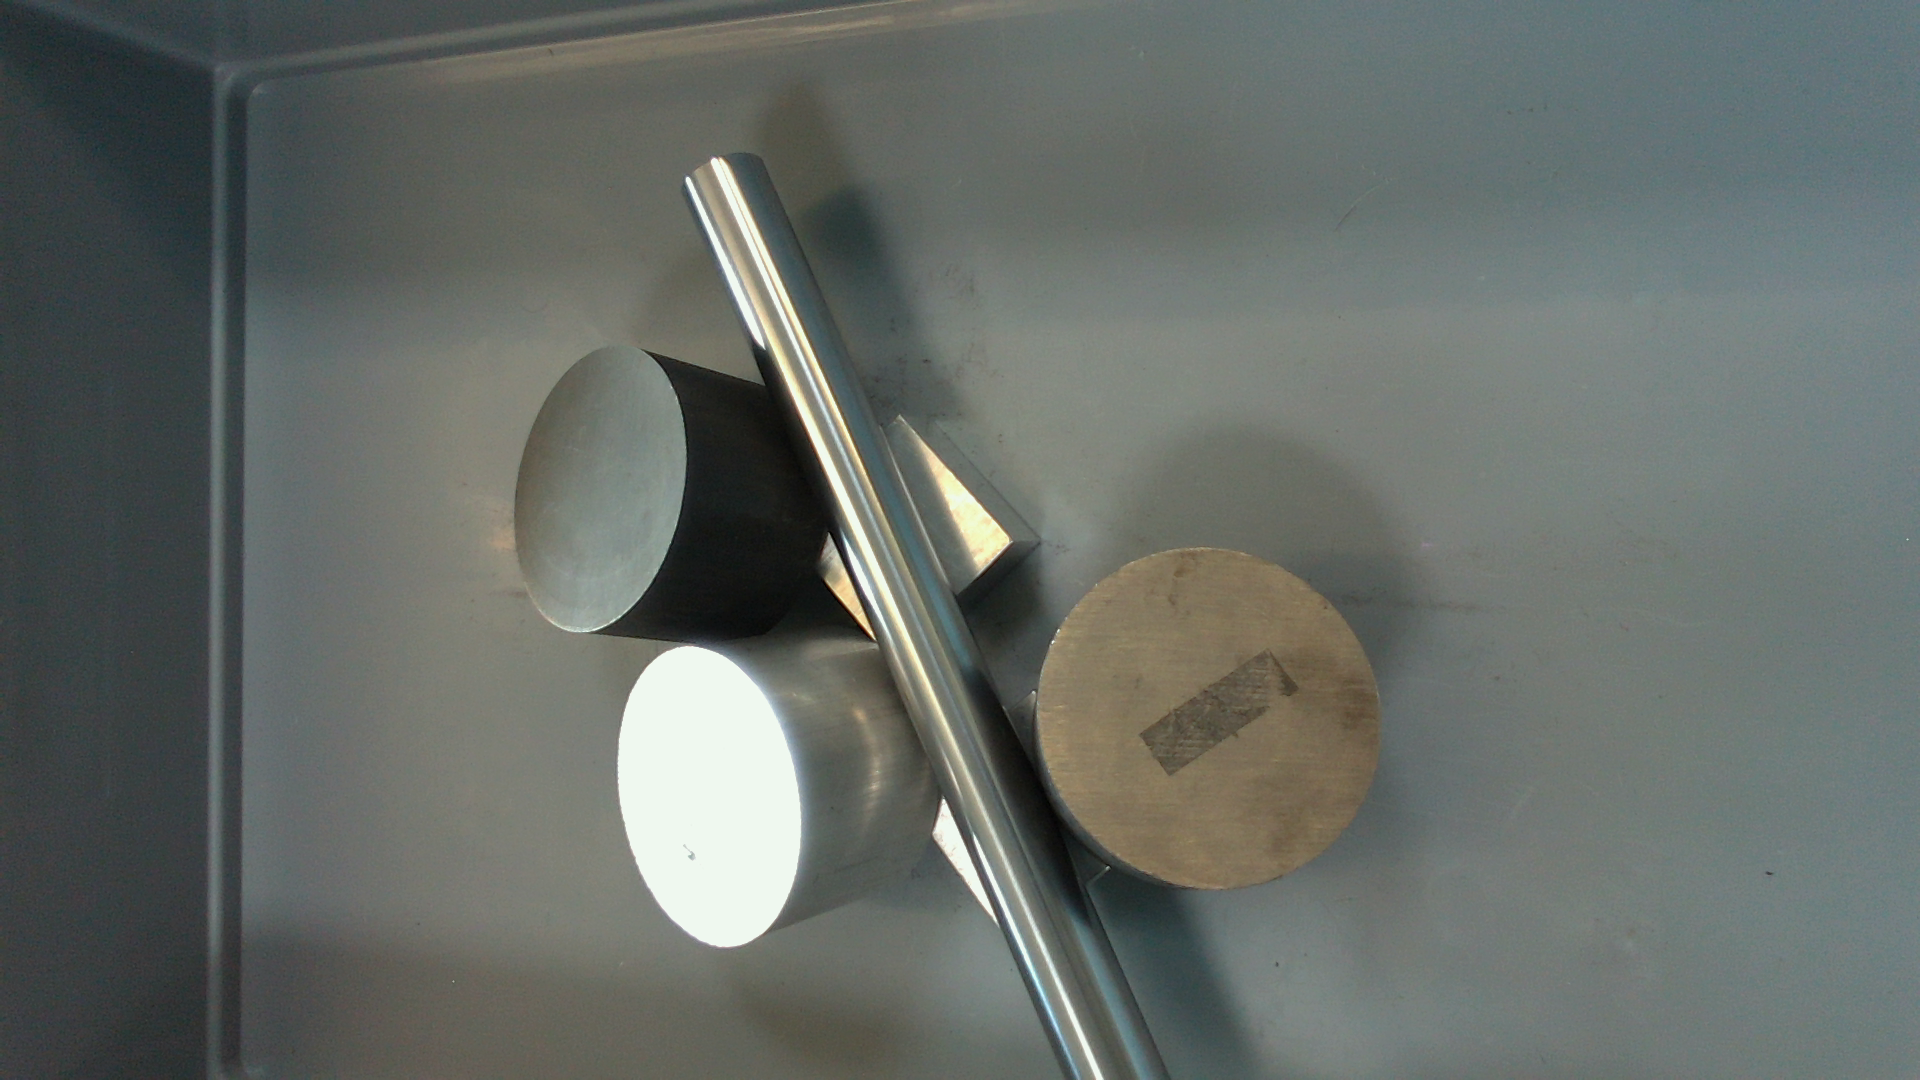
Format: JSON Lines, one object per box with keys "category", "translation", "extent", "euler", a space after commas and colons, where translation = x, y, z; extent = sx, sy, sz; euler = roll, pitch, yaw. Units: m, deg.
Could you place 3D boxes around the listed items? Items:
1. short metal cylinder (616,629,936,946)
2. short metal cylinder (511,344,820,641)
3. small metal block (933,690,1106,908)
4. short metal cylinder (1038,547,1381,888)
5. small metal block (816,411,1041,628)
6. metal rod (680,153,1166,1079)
{"category": "short metal cylinder", "translation": [-0.052, 0.067, 0.386], "extent": [0.080, 0.050, 0.080], "euler": [5, 97, 42]}
{"category": "short metal cylinder", "translation": [-0.085, -0.011, 0.397], "extent": [0.080, 0.050, 0.080], "euler": [-9, 76, 40]}
{"category": "small metal block", "translation": [0.021, 0.076, 0.387], "extent": [0.050, 0.025, 0.050], "euler": [-42, 77, 15]}
{"category": "short metal cylinder", "translation": [0.059, 0.047, 0.346], "extent": [0.080, 0.050, 0.080], "euler": [0, 75, 1]}
{"category": "small metal block", "translation": [-0.014, -0.001, 0.400], "extent": [0.050, 0.025, 0.050], "euler": [-45, 76, 14]}
{"category": "metal rod", "translation": [-0.008, 0.032, 0.370], "extent": [0.025, 0.025, 0.300], "euler": [-27, 81, 18]}
